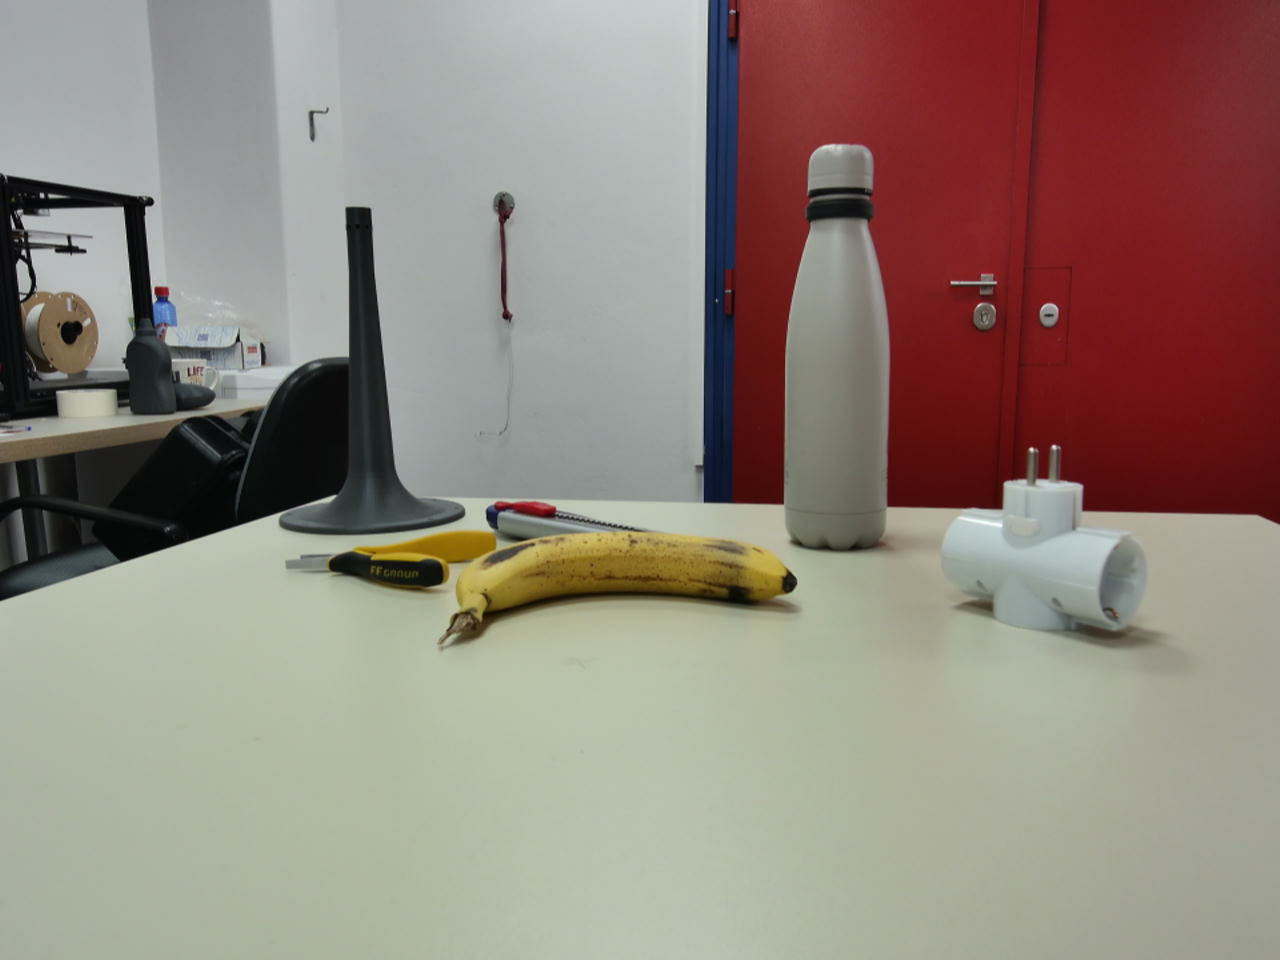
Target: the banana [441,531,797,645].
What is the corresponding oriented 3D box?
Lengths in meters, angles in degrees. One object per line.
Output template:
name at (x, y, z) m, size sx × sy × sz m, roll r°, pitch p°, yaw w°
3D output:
banana at (-0.017, 0.053, 0.553) m, size 0.186 × 0.038 × 0.097 m, roll -2°, pitch 6°, yaw -16°
